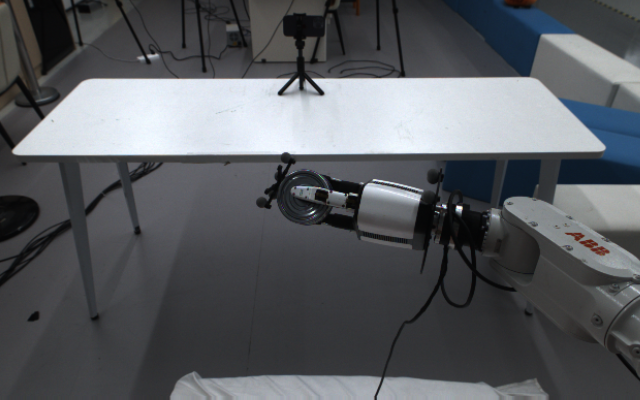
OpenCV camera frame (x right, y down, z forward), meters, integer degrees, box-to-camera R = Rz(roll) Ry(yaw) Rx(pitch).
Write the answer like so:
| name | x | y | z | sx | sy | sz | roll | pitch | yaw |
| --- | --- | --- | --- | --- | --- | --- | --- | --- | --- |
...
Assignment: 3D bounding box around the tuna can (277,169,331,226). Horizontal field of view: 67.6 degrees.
| name | x | y | z | sx | sy | sz | roll | pitch | yaw |
| --- | --- | --- | --- | --- | --- | --- | --- | --- | --- |
| tuna can | -0.020 | -0.001 | 0.745 | 0.085 | 0.085 | 0.034 | 9 | -4 | 10 |
